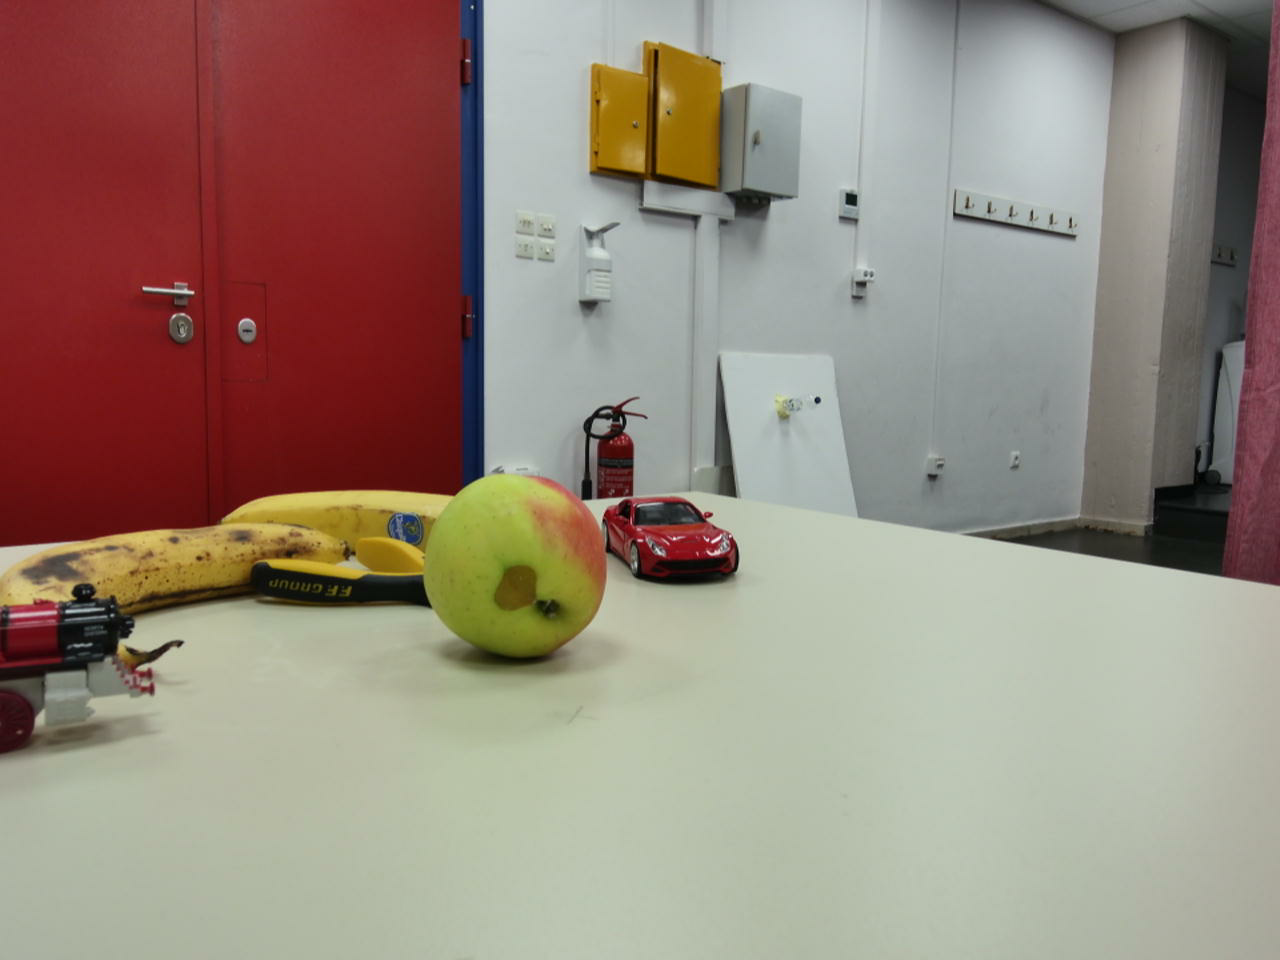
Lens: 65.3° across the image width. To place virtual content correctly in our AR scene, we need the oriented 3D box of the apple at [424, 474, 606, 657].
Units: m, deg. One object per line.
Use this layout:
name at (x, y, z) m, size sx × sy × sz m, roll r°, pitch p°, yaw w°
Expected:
apple at (-0.051, 0.035, 0.418) m, size 0.075 × 0.074 × 0.075 m, roll 3°, pitch 5°, yaw 32°
